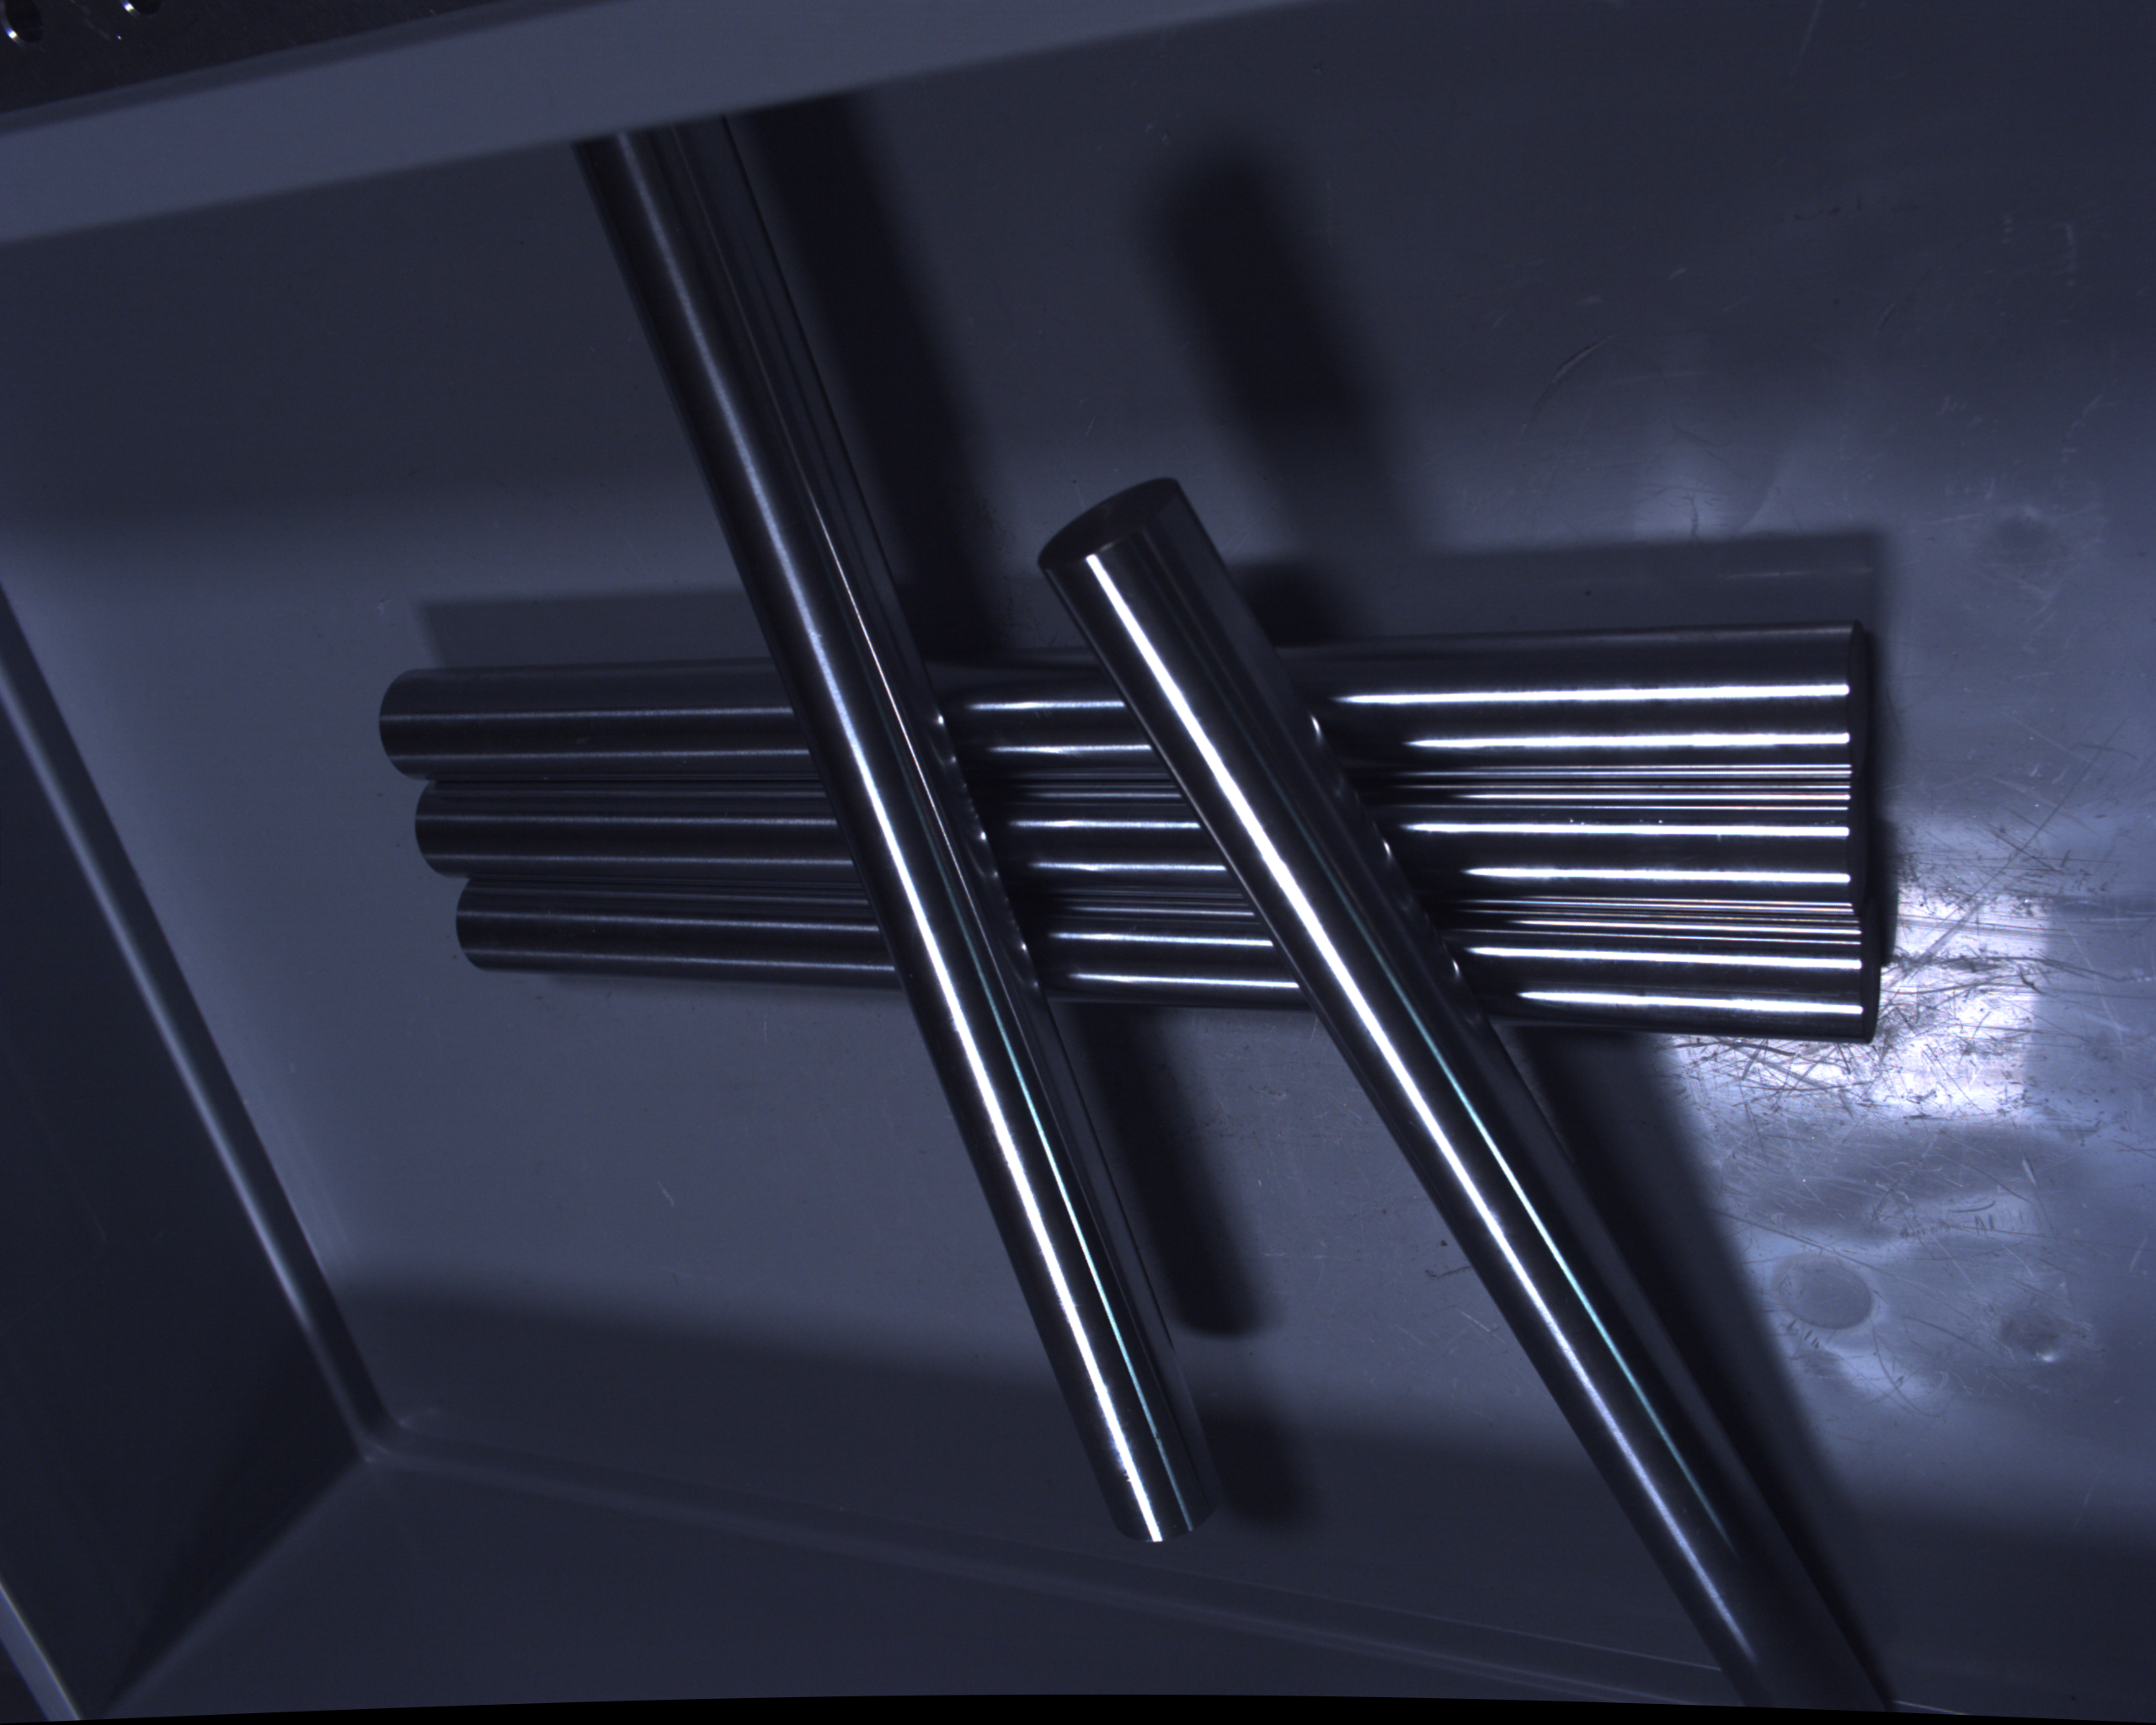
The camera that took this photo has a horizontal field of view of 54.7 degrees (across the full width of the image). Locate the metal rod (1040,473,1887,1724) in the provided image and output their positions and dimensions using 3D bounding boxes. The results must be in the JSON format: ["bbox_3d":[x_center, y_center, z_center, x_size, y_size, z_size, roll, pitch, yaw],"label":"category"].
[{"bbox_3d":[0.080,0.063,0.377,0.025,0.025,0.299,-17,117,34],"label":"metal rod"}]

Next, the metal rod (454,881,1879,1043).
[{"bbox_3d":[-0.002,0.015,0.416,0.301,0.025,0.025,1,119,27],"label":"metal rod"}]

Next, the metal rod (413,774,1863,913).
[{"bbox_3d":[-0.008,-0.007,0.406,0.301,0.025,0.025,1,119,27],"label":"metal rod"}]

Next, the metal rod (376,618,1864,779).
[{"bbox_3d":[-0.012,-0.028,0.395,0.301,0.025,0.025,1,119,27],"label":"metal rod"}]

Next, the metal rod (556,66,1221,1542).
[{"bbox_3d":[-0.027,0.007,0.391,0.025,0.025,0.298,-5,116,30],"label":"metal rod"}]
